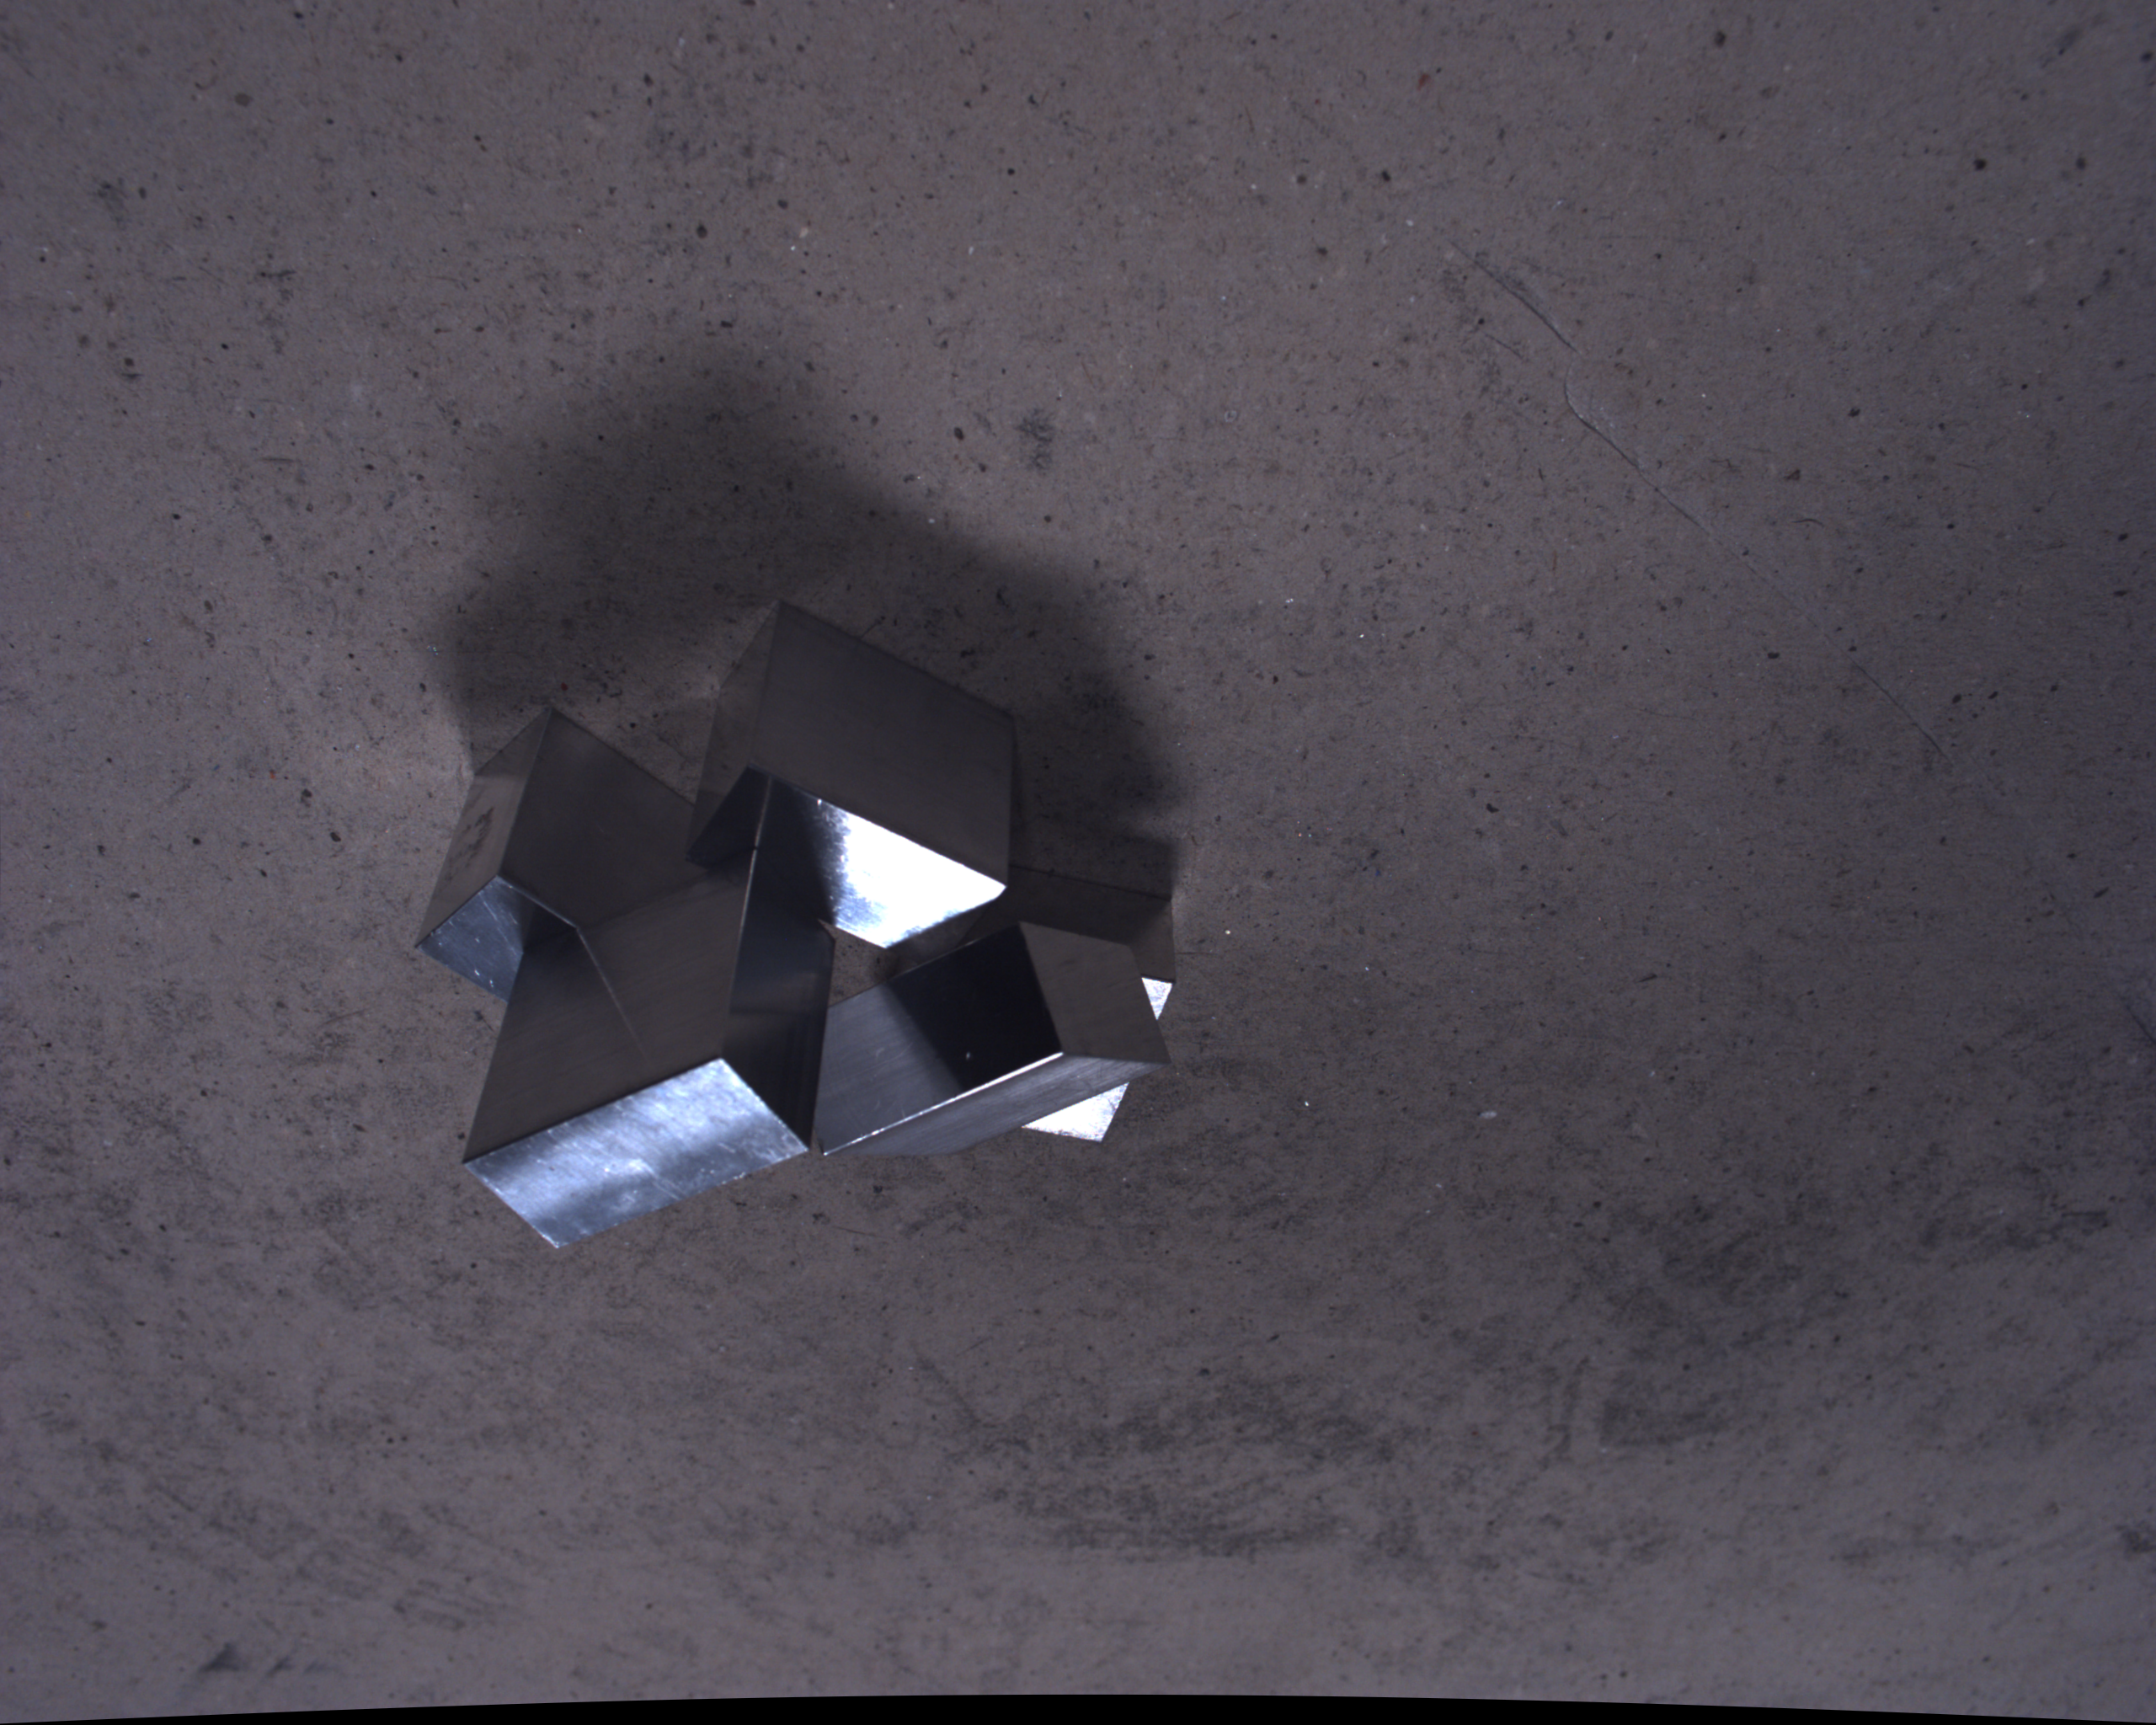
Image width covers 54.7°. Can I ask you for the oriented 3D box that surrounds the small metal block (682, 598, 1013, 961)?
[{"bbox_3d":[-0.040,-0.014,0.380,0.050,0.050,0.025,26,125,-21],"label":"small metal block"}]

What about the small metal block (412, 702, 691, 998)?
[{"bbox_3d":[-0.092,0.006,0.396,0.025,0.050,0.050,-37,121,27],"label":"small metal block"}]

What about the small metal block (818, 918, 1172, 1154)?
[{"bbox_3d":[-0.018,0.034,0.388,0.050,0.025,0.050,-25,164,19],"label":"small metal block"}]

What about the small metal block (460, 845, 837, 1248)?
[{"bbox_3d":[-0.071,0.031,0.352,0.050,0.050,0.025,-23,127,18],"label":"small metal block"}]

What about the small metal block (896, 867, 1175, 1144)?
[{"bbox_3d":[-0.012,0.029,0.433,0.050,0.025,0.050,12,129,-11],"label":"small metal block"}]
